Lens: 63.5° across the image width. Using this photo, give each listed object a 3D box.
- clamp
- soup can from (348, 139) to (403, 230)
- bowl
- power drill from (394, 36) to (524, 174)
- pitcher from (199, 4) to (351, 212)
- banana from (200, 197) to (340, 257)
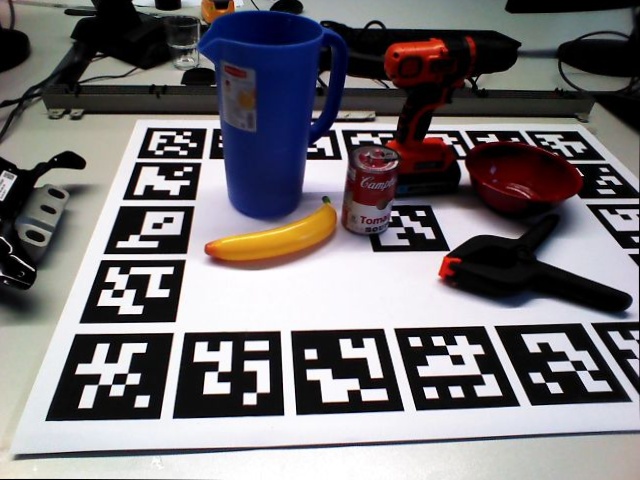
[{"bbox_3d":[0.249,0.020,0.613,0.203,0.037,0.164,-3,45,-8],"label":"clamp"},{"bbox_3d":[0.072,-0.072,0.670,0.068,0.102,0.067,1,32,-1],"label":"soup can"},{"bbox_3d":[0.293,-0.086,0.736,0.162,0.055,0.161,2,42,-2],"label":"bowl"},{"bbox_3d":[0.183,-0.185,0.714,0.184,0.188,0.057,-4,42,-10],"label":"power drill"},{"bbox_3d":[-0.050,-0.164,0.658,0.188,0.243,0.133,-18,42,-24],"label":"pitcher"},{"bbox_3d":[-0.048,-0.012,0.642,0.196,0.039,0.074,-18,37,-26],"label":"banana"}]
